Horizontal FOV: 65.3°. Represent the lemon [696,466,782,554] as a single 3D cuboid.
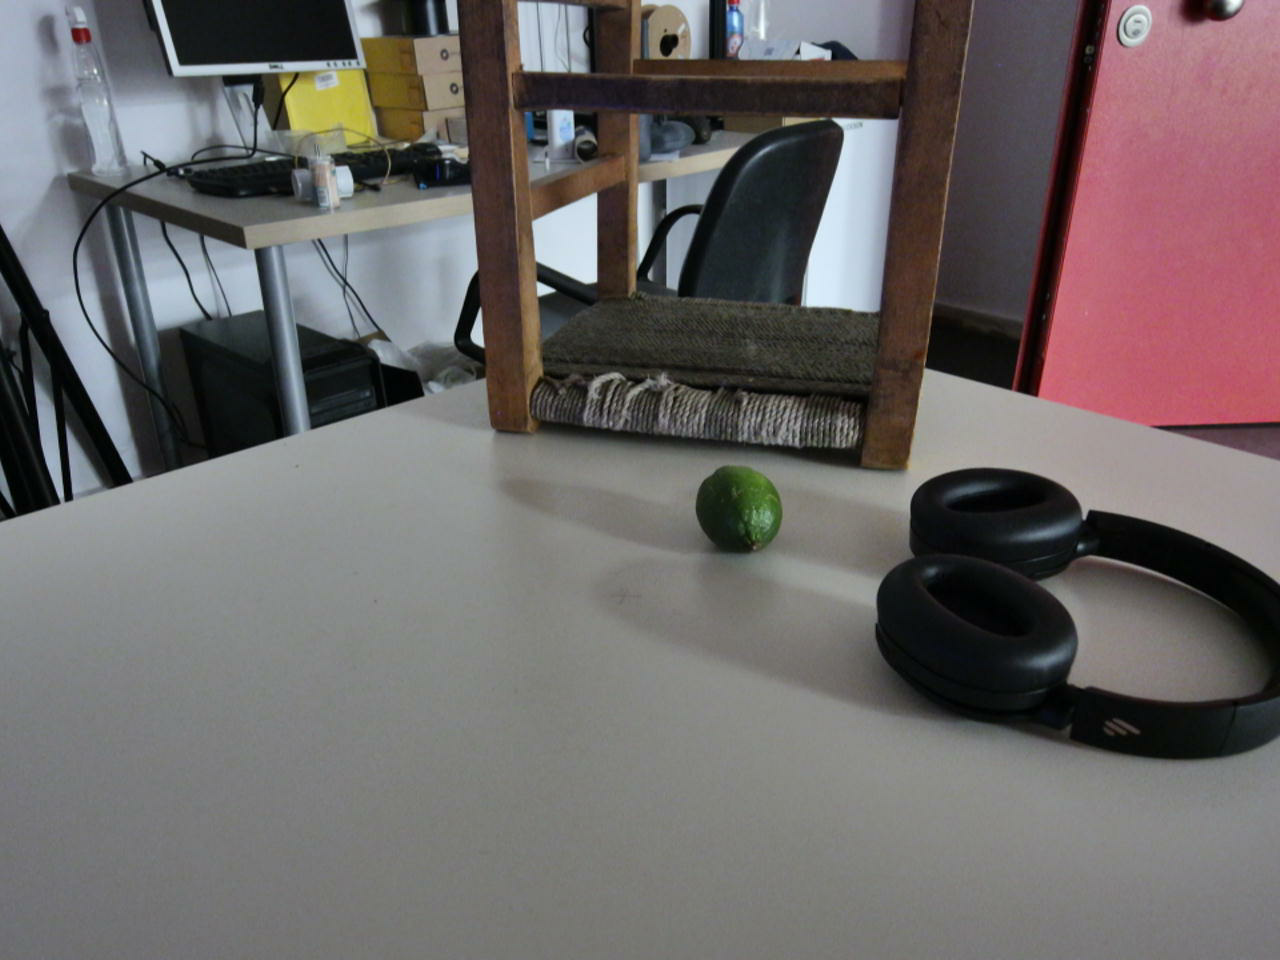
[{"bbox_3d":[0.061,0.018,0.617,0.057,0.051,0.054,22,32,39],"label":"lemon"}]
